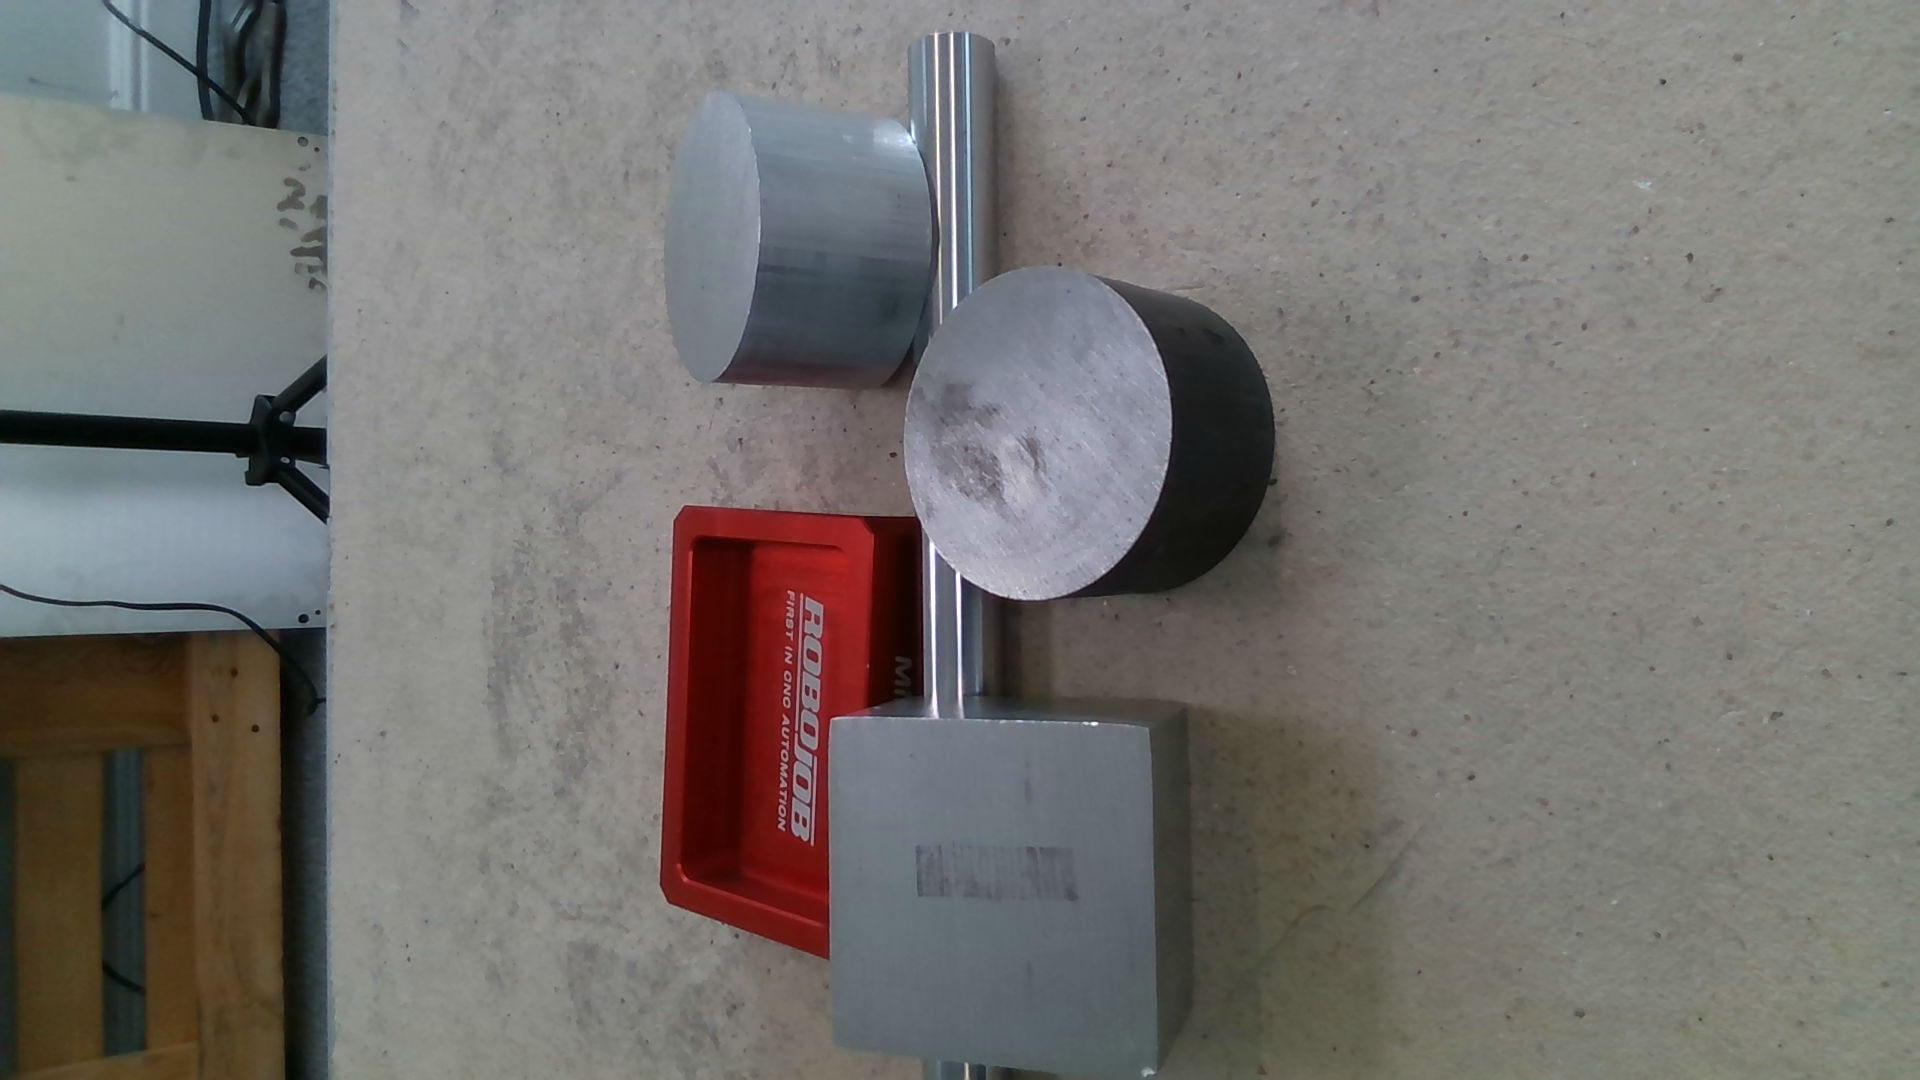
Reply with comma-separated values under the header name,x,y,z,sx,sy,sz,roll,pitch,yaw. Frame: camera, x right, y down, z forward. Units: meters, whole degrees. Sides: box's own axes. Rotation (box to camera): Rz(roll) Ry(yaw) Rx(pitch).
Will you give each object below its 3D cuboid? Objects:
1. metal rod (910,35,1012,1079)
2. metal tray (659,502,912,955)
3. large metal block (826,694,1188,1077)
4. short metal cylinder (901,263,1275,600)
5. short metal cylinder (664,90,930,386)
name,x,y,z,sx,sy,sz,roll,pitch,yaw
metal rod,0.000,0.010,0.392,0.025,0.025,0.300,-1,90,40
metal tray,-0.053,0.055,0.432,0.090,0.030,0.130,4,93,40
large metal block,0.014,0.082,0.348,0.080,0.050,0.080,-1,90,19
short metal cylinder,0.032,-0.026,0.348,0.080,0.050,0.080,0,91,40
short metal cylinder,-0.050,-0.085,0.400,0.080,0.050,0.080,3,94,61
